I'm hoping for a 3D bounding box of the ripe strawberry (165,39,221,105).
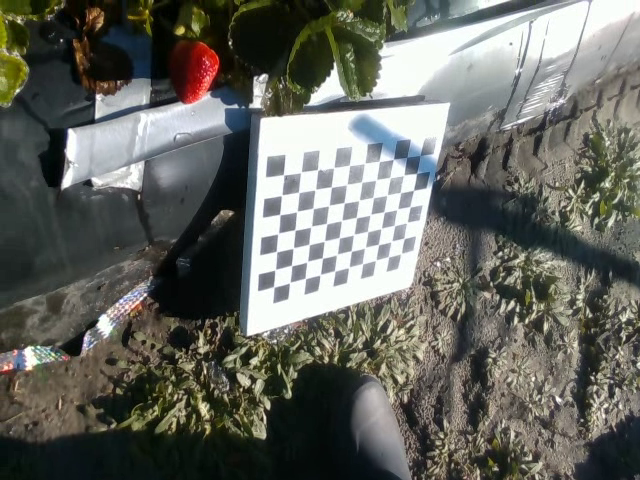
[{"bbox_3d":[-0.119,-0.158,0.672,0.057,0.065,0.061,-19,-29,30],"label":"ripe strawberry"}]
